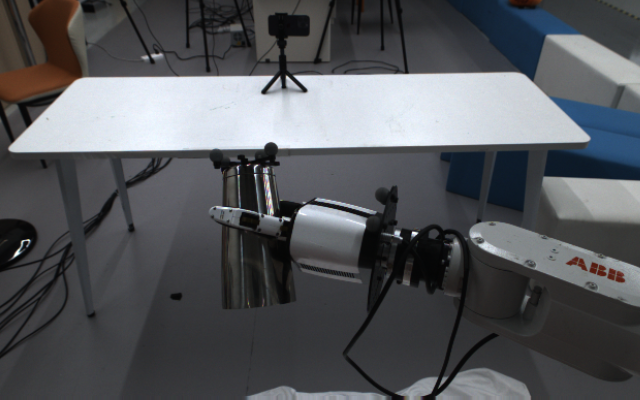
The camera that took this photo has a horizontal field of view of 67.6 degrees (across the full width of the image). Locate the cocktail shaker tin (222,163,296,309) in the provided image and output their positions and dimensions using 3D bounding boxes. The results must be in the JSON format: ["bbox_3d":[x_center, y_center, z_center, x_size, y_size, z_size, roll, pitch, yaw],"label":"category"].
[{"bbox_3d":[-0.083,0.046,0.609,0.093,0.170,0.093,-6,-7,-1],"label":"cocktail shaker tin"}]
